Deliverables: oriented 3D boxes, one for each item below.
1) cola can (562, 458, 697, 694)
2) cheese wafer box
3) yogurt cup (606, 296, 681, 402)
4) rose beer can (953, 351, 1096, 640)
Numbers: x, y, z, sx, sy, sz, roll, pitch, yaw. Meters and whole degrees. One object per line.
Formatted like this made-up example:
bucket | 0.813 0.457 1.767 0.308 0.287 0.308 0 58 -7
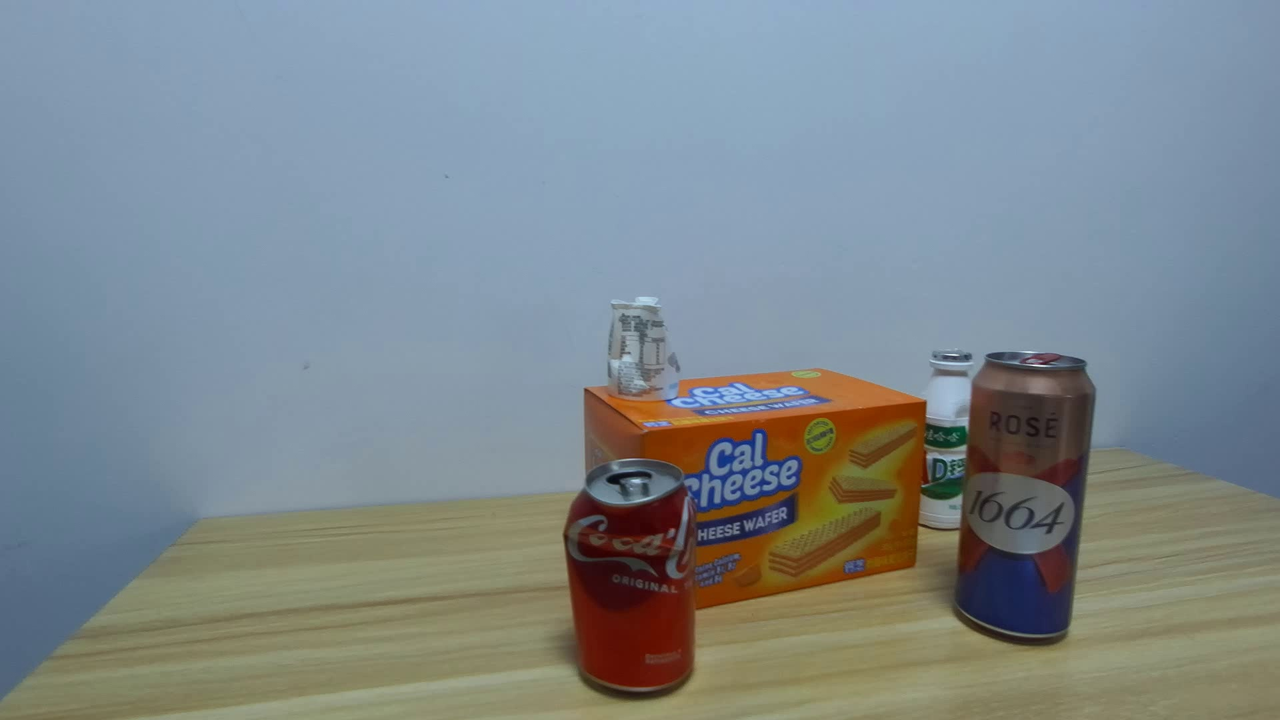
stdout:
cola can | 0.001 0.118 0.392 0.072 0.117 0.066 6 10 32
cheese wafer box | 0.082 0.088 0.545 0.222 0.129 0.147 -4 10 -20
yogurt cup | 0.002 -0.009 0.528 0.055 0.072 0.055 5 10 26
rose beer can | 0.237 0.085 0.439 0.068 0.169 0.068 1 7 0
